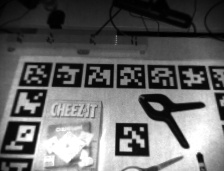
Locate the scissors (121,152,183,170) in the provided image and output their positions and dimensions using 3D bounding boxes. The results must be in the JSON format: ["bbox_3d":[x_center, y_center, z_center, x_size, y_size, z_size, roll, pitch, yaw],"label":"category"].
[{"bbox_3d":[0.118,0.235,0.610,0.204,0.016,0.087,-25,62,-16],"label":"scissors"}]

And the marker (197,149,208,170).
[{"bbox_3d":[0.260,0.239,0.607,0.019,0.020,0.120,-3,60,0],"label":"marker"}]

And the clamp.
[{"bbox_3d":[0.171,0.074,0.705,0.201,0.037,0.166,28,63,14],"label":"clamp"}]

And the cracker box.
[{"bbox_3d":[-0.114,0.152,0.627,0.164,0.072,0.213,2,61,1],"label":"cracker box"}]
